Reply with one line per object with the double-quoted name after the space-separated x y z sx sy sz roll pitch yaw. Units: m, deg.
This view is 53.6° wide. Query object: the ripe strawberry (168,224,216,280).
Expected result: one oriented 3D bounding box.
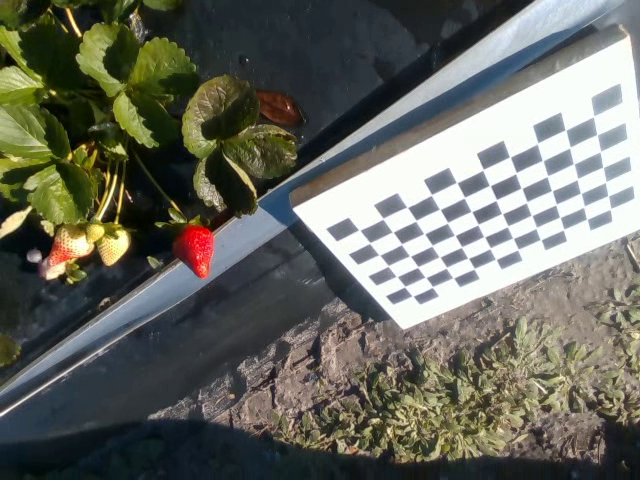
-0.090 0.011 0.453 0.036 0.046 0.038 -24 -24 18 "ripe strawberry"
